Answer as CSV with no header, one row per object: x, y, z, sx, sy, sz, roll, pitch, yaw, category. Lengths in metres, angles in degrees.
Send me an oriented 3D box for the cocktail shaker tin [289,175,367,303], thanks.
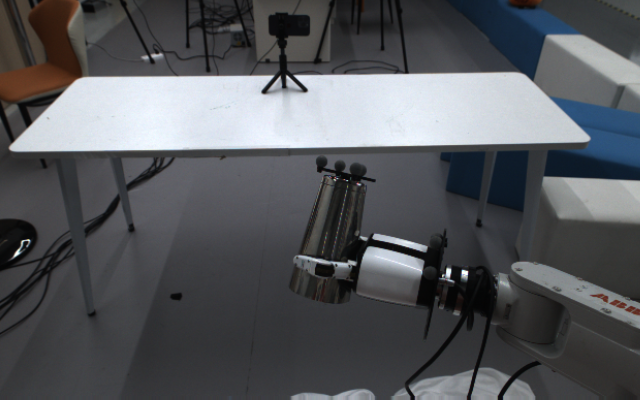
0.018,0.053,0.705,0.093,0.170,0.093,12,4,-1,cocktail shaker tin
